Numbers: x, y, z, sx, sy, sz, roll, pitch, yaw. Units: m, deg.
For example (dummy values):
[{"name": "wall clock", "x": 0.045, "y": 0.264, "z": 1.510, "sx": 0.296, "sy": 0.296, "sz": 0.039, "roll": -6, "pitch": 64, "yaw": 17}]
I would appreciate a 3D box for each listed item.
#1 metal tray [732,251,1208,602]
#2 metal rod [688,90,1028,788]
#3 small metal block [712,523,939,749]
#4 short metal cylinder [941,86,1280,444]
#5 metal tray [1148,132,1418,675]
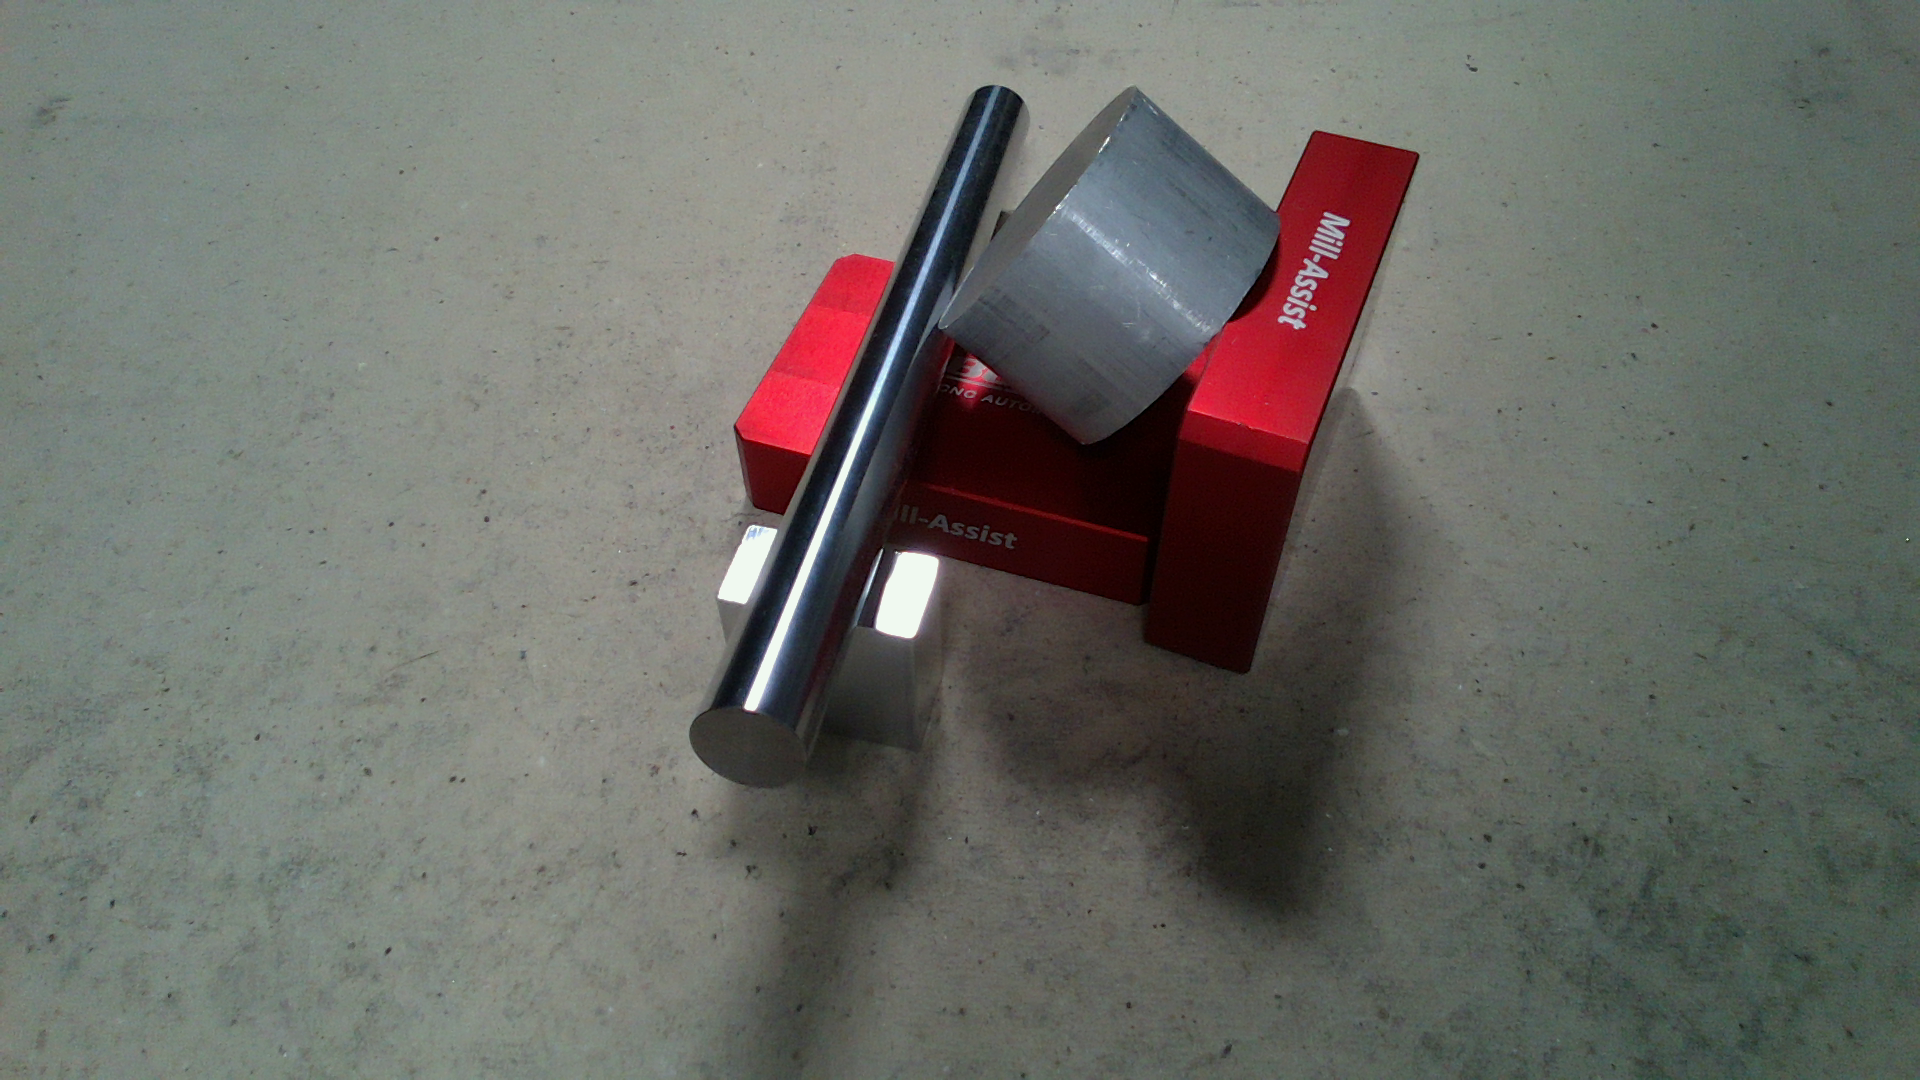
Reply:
[{"name": "metal tray", "x": 0.008, "y": -0.038, "z": 0.420, "sx": 0.130, "sy": 0.030, "sz": 0.090, "roll": 14, "pitch": 51, "yaw": 12}, {"name": "metal rod", "x": -0.015, "y": -0.055, "z": 0.387, "sx": 0.025, "sy": 0.025, "sz": 0.300, "roll": 8, "pitch": 41, "yaw": 7}, {"name": "small metal block", "x": -0.032, "y": 0.025, "z": 0.354, "sx": 0.050, "sy": 0.050, "sz": 0.025, "roll": 10, "pitch": 51, "yaw": 8}, {"name": "short metal cylinder", "x": 0.039, "y": -0.072, "z": 0.369, "sx": 0.050, "sy": 0.080, "sz": 0.080, "roll": 38, "pitch": 53, "yaw": -11}, {"name": "metal tray", "x": 0.090, "y": -0.039, "z": 0.382, "sx": 0.030, "sy": 0.090, "sz": 0.130, "roll": 18, "pitch": 52, "yaw": 15}]
